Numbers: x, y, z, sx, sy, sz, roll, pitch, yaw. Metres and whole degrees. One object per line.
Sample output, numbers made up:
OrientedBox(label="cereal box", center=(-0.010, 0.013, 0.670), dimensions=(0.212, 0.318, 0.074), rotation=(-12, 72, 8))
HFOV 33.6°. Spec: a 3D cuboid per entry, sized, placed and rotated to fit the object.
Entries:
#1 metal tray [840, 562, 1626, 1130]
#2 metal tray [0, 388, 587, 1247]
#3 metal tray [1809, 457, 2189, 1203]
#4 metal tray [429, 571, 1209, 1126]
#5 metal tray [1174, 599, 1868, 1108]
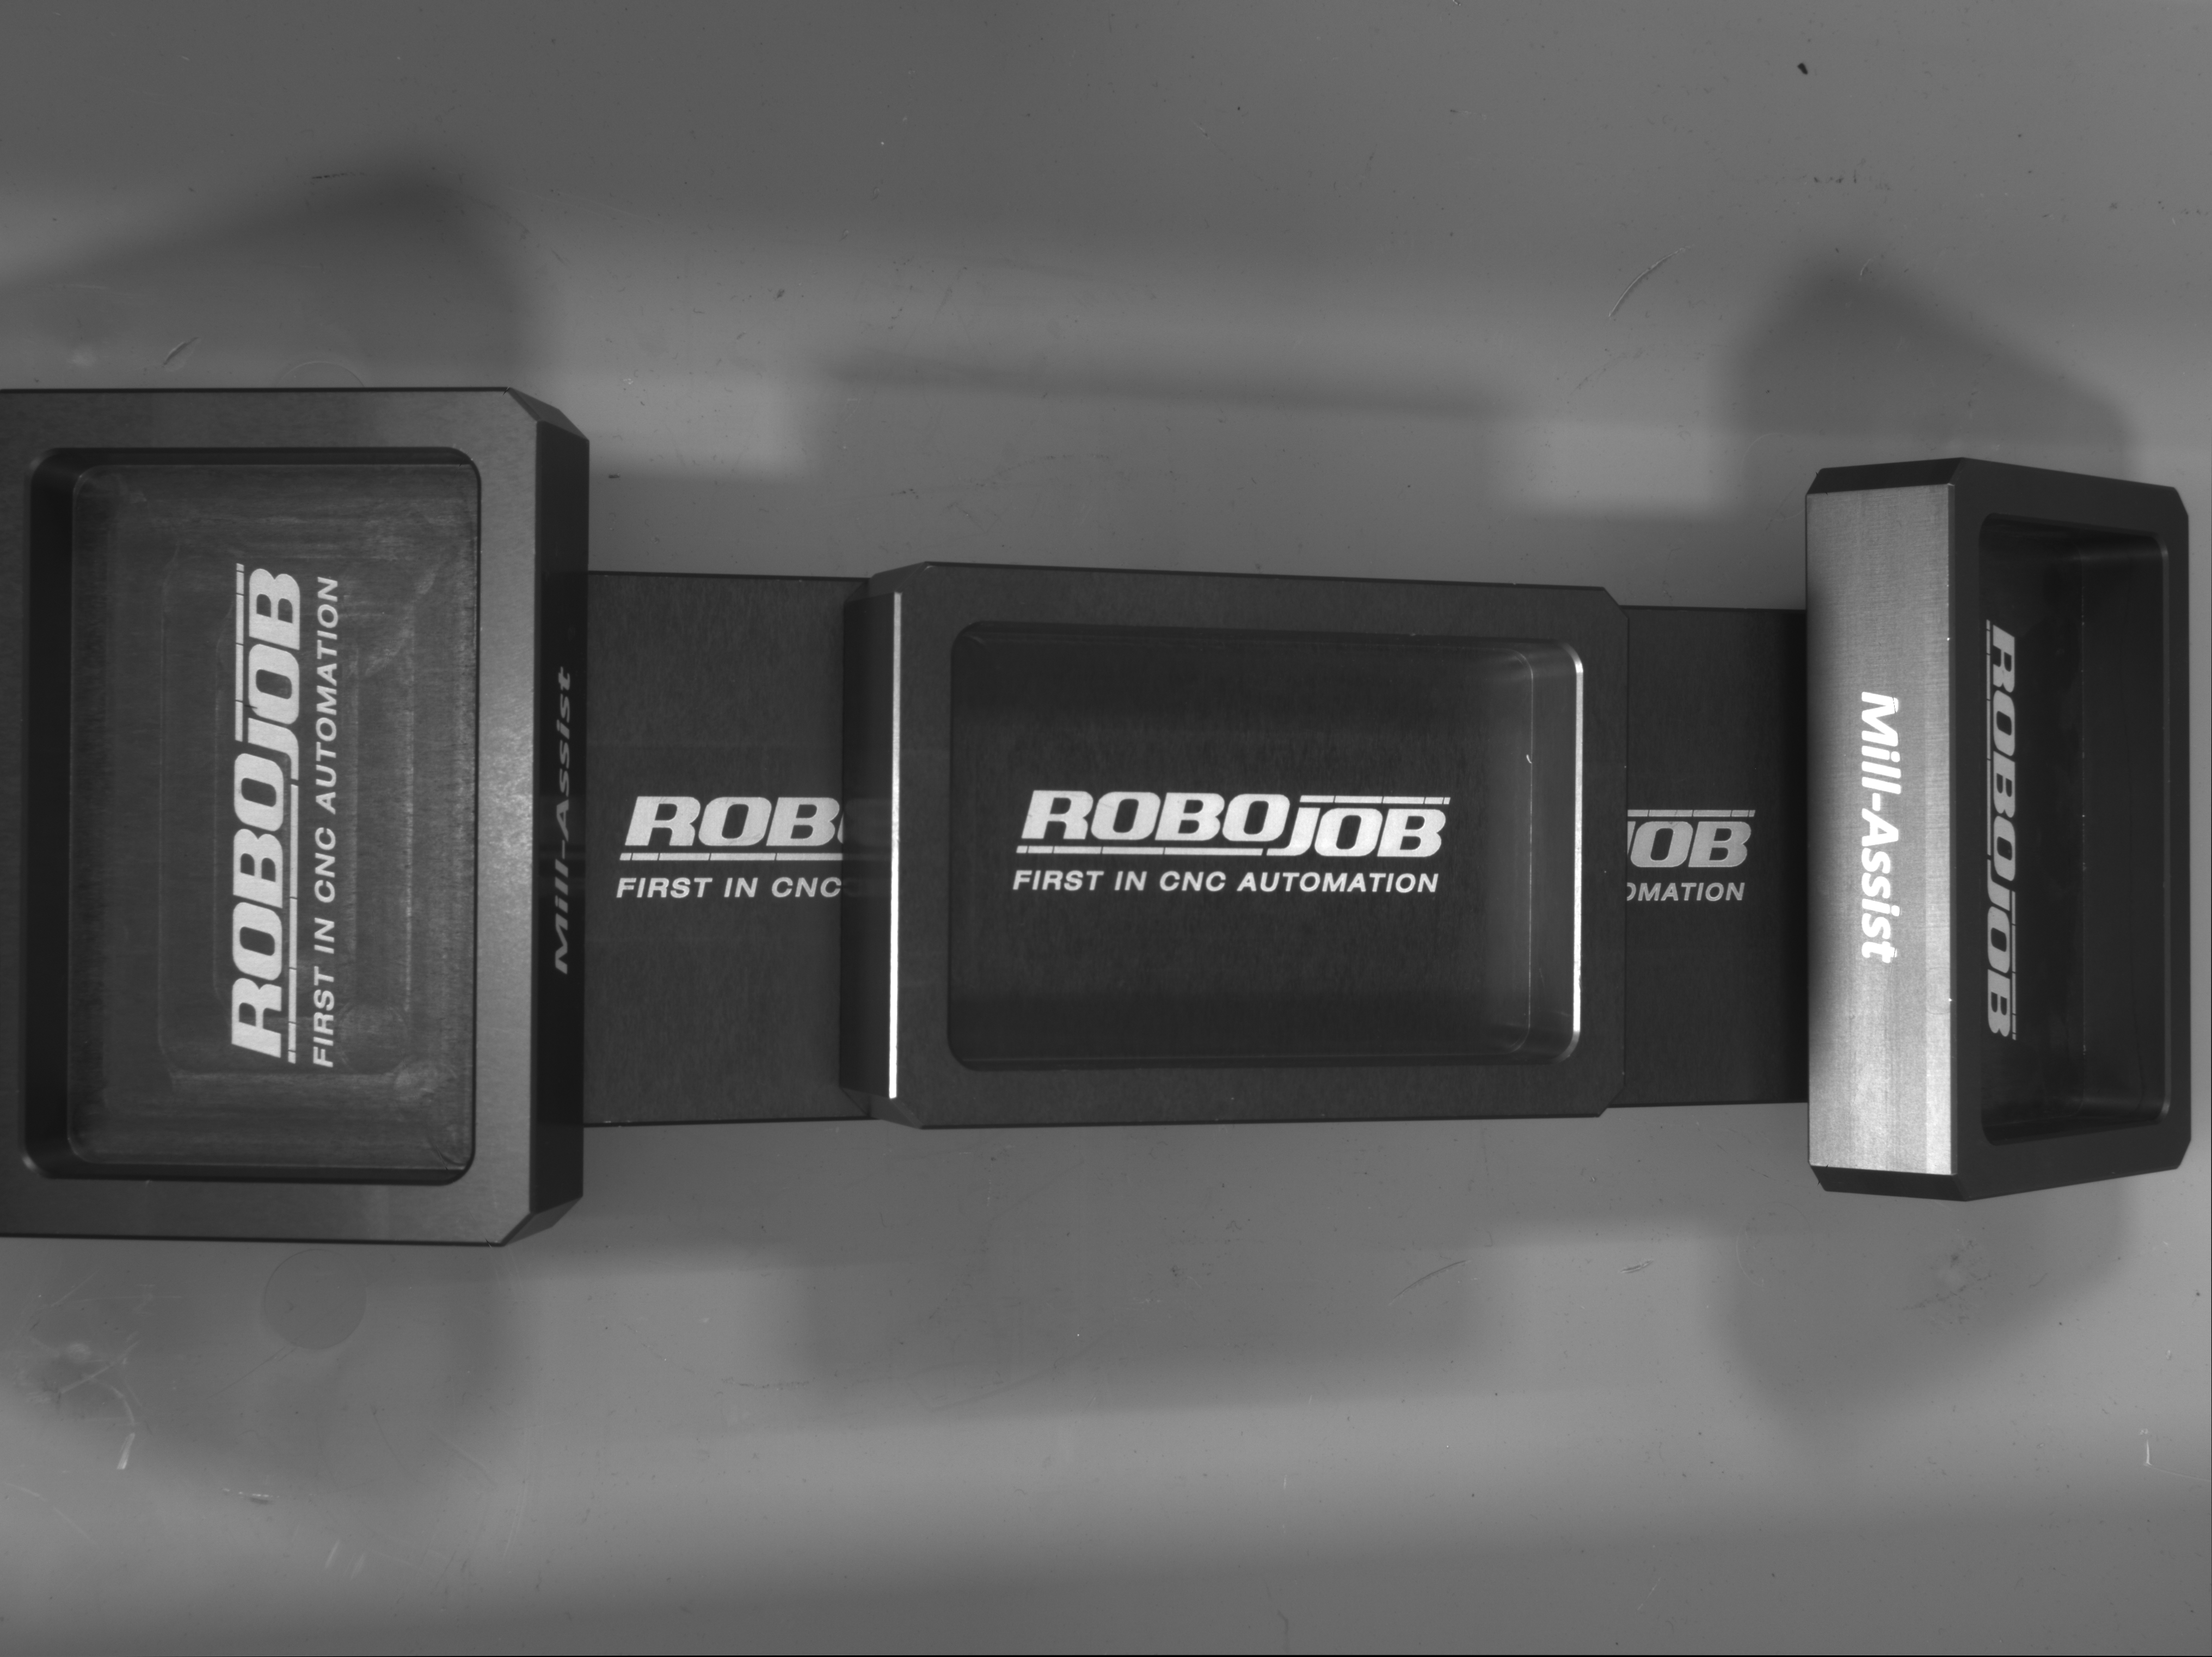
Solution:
OrientedBox(label="metal tray", center=(0.022, 0.004, 0.615), dimensions=(0.130, 0.030, 0.090), rotation=(1, 89, -20))
OrientedBox(label="metal tray", center=(-0.129, -0.002, 0.573), dimensions=(0.090, 0.030, 0.130), rotation=(1, 90, 6))
OrientedBox(label="metal tray", center=(0.167, 0.000, 0.679), dimensions=(0.090, 0.030, 0.130), rotation=(0, 90, -48))
OrientedBox(label="metal tray", center=(-0.048, 0.003, 0.622), dimensions=(0.130, 0.030, 0.090), rotation=(0, 90, -20))
OrientedBox(label="metal tray", center=(0.074, 0.005, 0.667), dimensions=(0.130, 0.030, 0.090), rotation=(0, 90, -20))
